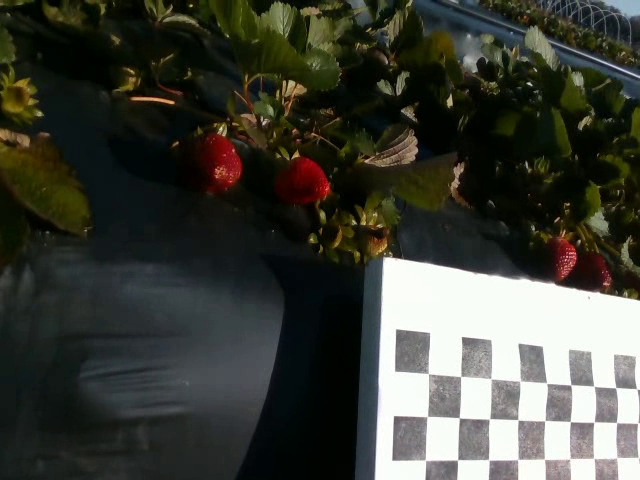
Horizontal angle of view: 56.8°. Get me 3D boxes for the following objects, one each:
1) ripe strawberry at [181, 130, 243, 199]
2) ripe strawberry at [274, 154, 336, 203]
[{"bbox_3d":[-0.072,-0.049,0.382,0.050,0.045,0.050,29,3,-23],"label":"ripe strawberry"},{"bbox_3d":[-0.009,-0.040,0.420,0.042,0.039,0.049,-39,38,-25],"label":"ripe strawberry"}]
